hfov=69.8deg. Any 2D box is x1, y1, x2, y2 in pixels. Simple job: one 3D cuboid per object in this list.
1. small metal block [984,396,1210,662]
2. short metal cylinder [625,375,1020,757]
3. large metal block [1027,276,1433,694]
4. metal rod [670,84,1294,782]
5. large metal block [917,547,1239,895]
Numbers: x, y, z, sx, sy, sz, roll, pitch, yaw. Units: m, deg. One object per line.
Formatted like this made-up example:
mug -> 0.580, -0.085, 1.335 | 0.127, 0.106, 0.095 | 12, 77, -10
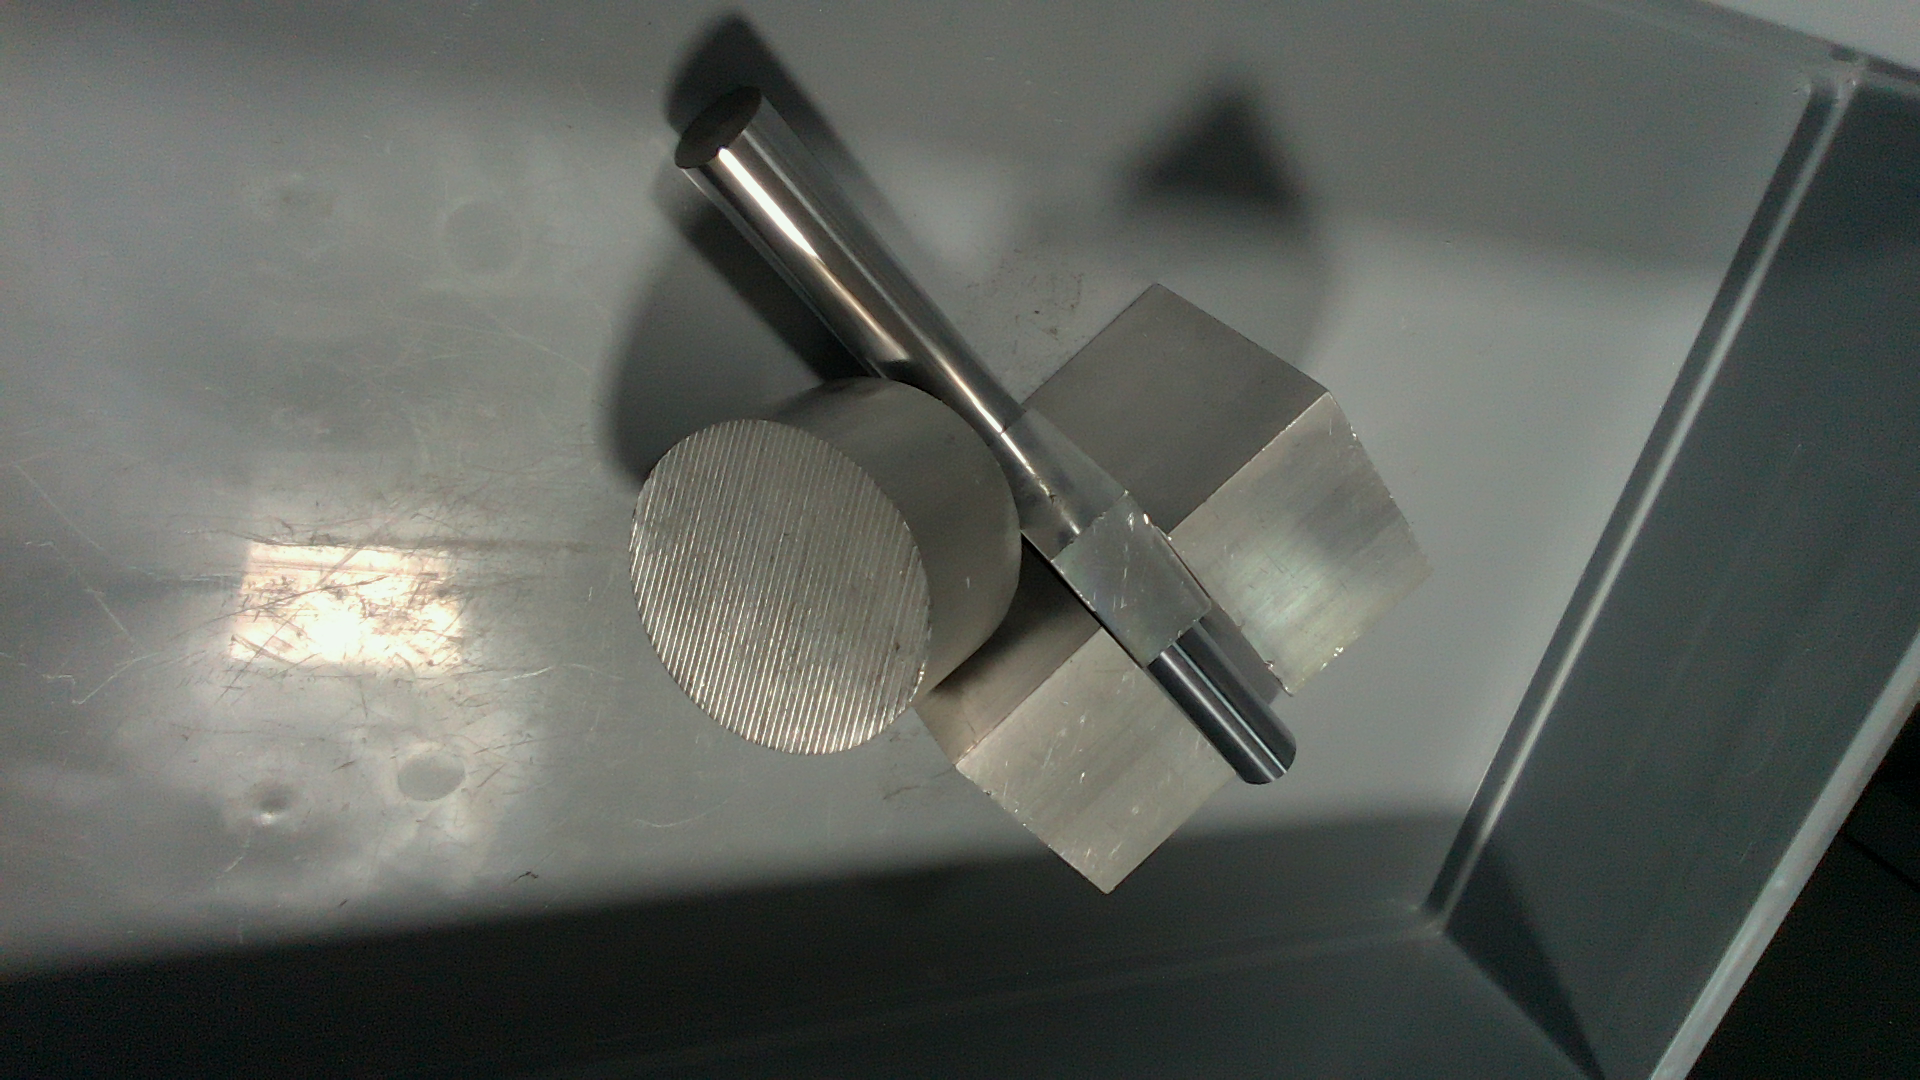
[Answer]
small metal block -> 0.032, -0.003, 0.357 | 0.025, 0.050, 0.050 | -42, 129, 1
short metal cylinder -> -0.032, 0.005, 0.330 | 0.050, 0.080, 0.080 | -35, 145, -59
large metal block -> 0.074, -0.016, 0.384 | 0.050, 0.080, 0.080 | -42, 129, 1
metal rod -> 0.027, -0.008, 0.399 | 0.025, 0.025, 0.301 | -43, 129, 1
large metal block -> 0.021, 0.041, 0.390 | 0.050, 0.080, 0.080 | -43, 129, 2
